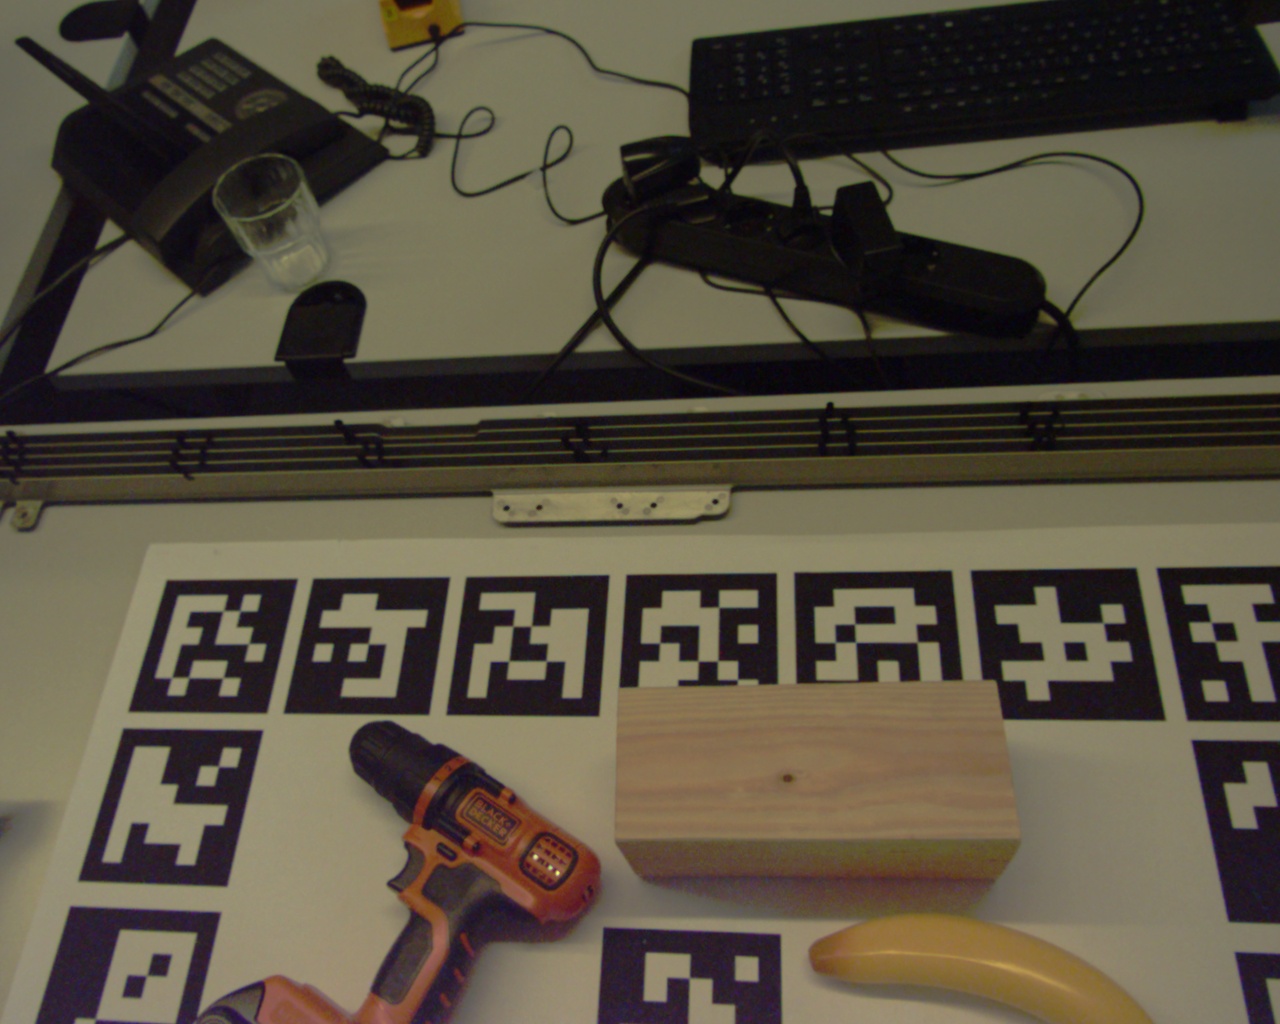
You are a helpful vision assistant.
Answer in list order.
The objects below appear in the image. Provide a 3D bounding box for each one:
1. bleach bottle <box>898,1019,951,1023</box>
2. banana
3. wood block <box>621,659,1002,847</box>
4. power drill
[{"bbox_3d":[0.124,0.268,0.507,0.068,0.249,0.102,26,65,22],"label":"bleach bottle"},{"bbox_3d":[0.176,0.231,0.642,0.199,0.038,0.074,14,76,14],"label":"banana"},{"bbox_3d":[0.098,0.144,0.680,0.207,0.090,0.090,-2,60,8],"label":"wood block"},{"bbox_3d":[-0.137,0.227,0.691,0.186,0.057,0.186,27,65,19],"label":"power drill"}]
